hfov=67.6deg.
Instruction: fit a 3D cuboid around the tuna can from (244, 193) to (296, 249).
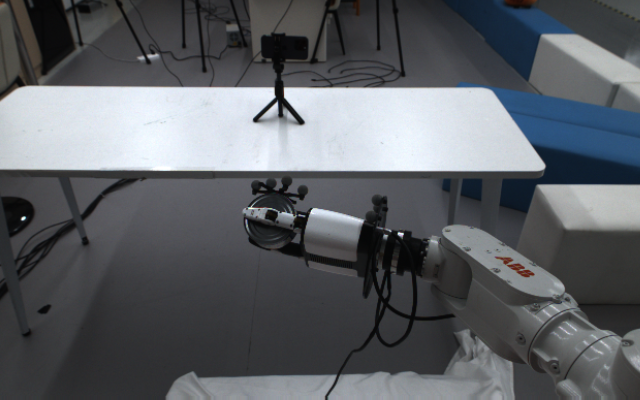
[{"bbox_3d":[-0.077,0.034,0.773,0.085,0.034,0.085,-3,68,8],"label":"tuna can"}]
